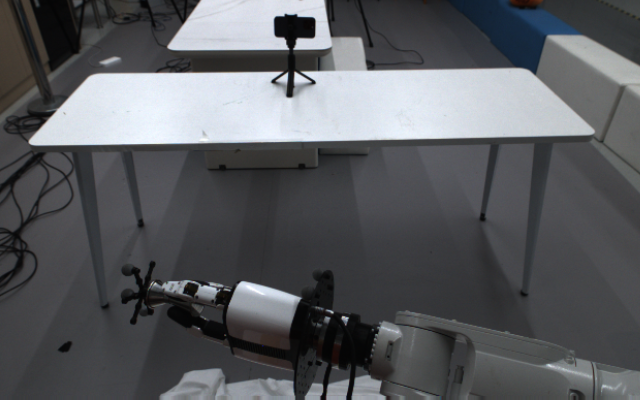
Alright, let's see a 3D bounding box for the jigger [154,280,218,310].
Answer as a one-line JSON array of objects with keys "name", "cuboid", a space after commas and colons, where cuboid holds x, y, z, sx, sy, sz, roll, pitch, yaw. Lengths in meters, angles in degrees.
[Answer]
[{"name": "jigger", "cuboid": [-0.188, 0.130, 0.660, 0.071, 0.043, 0.043, 5, 35, 13]}]
